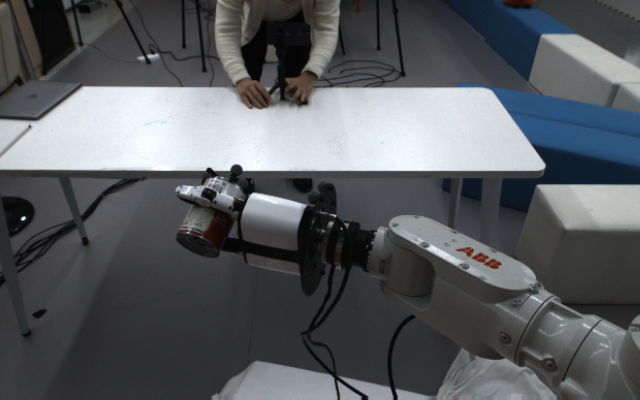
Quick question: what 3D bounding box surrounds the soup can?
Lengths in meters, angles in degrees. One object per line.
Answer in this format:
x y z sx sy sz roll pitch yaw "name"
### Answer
-0.159 0.024 0.708 0.067 0.067 0.101 12 59 14 "soup can"
